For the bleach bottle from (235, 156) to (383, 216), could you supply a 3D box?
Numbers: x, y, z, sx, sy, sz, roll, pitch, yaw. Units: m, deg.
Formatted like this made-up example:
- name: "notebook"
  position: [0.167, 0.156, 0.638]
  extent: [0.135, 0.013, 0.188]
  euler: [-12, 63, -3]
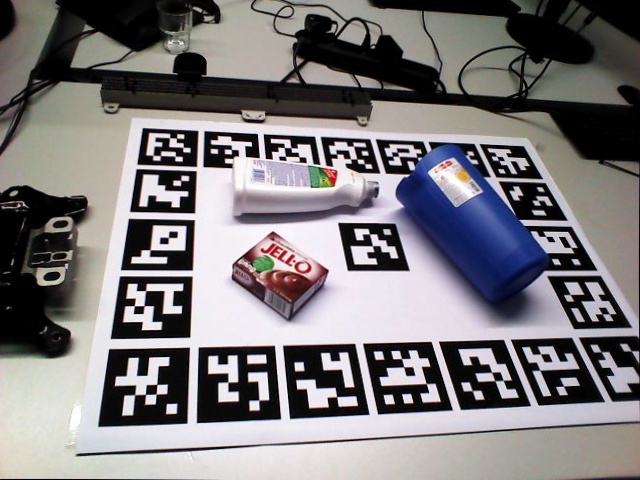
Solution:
- name: "bleach bottle"
  position: [-0.013, -0.089, 0.860]
  extent: [0.250, 0.068, 0.102]
  euler: [0, 54, -14]

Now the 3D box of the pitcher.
- name: "pitcher"
  position: [0.256, -0.011, 0.825]
  extent: [0.188, 0.134, 0.242]
  euler: [8, 43, -53]

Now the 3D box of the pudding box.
- name: "pudding box"
  position: [-0.056, 0.046, 0.745]
  extent: [0.114, 0.039, 0.089]
  euler: [38, 47, 18]
